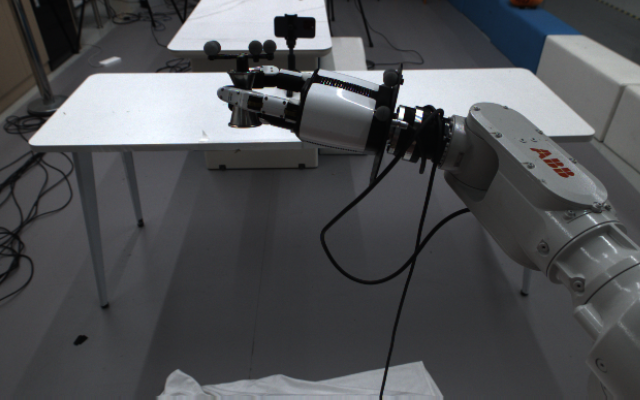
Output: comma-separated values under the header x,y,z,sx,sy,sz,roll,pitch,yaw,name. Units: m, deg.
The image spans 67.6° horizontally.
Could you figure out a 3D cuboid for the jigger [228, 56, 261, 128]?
x,y,z,sx,sy,sz,roll,pitch,yaw,name
-0.101,-0.130,0.618,0.043,0.071,0.043,0,21,0,jigger
